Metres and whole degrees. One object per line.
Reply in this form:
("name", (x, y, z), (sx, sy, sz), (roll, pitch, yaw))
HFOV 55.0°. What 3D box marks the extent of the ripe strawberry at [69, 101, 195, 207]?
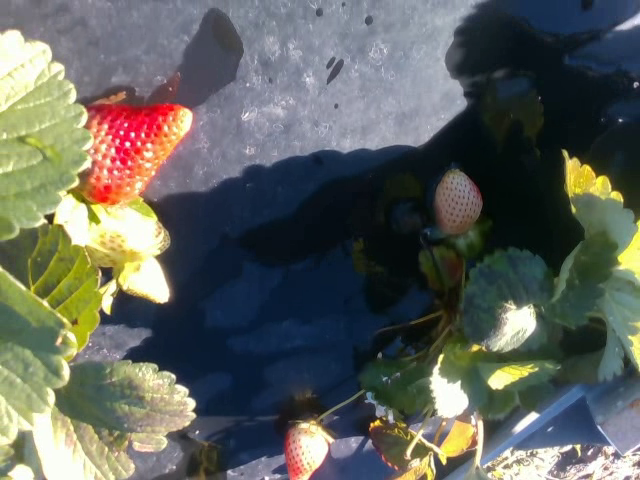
("ripe strawberry", (-0.078, -0.041, 0.252), (0.064, 0.052, 0.049), (-29, -17, 8))
